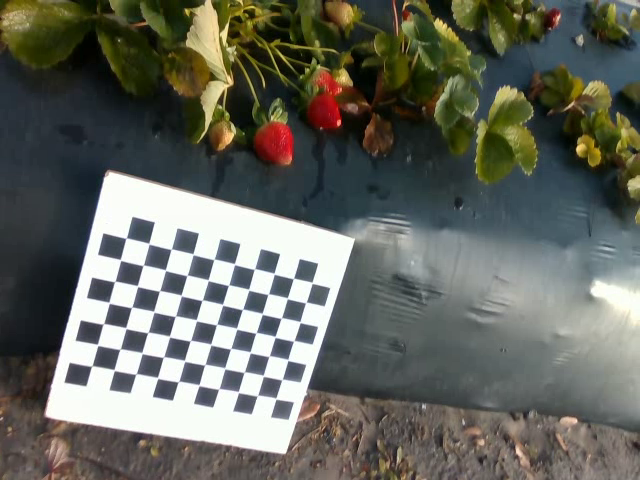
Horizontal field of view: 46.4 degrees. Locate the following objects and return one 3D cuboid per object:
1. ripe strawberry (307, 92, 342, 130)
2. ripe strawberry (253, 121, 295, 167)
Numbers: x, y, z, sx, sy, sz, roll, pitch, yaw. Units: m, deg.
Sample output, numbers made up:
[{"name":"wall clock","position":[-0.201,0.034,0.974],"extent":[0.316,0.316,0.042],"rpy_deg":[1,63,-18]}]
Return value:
[{"name":"ripe strawberry","position":[0.006,-0.148,0.886],"extent":[0.055,0.045,0.042],"rpy_deg":[41,-3,29]},{"name":"ripe strawberry","position":[-0.048,-0.105,0.834],"extent":[0.050,0.065,0.050],"rpy_deg":[-25,-36,-10]}]
